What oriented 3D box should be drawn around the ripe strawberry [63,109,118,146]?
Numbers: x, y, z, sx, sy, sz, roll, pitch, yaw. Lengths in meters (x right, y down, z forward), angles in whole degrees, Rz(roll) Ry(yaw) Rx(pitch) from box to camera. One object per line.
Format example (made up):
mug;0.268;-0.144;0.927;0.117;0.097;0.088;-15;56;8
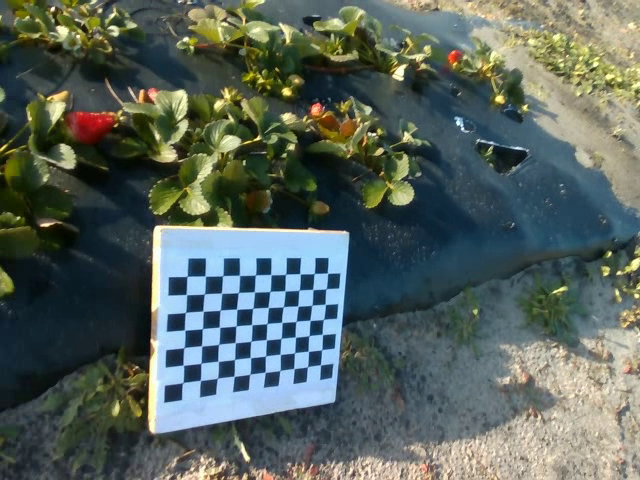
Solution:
ripe strawberry;-0.304;-0.153;0.820;0.072;0.057;0.055;-24;21;-18
